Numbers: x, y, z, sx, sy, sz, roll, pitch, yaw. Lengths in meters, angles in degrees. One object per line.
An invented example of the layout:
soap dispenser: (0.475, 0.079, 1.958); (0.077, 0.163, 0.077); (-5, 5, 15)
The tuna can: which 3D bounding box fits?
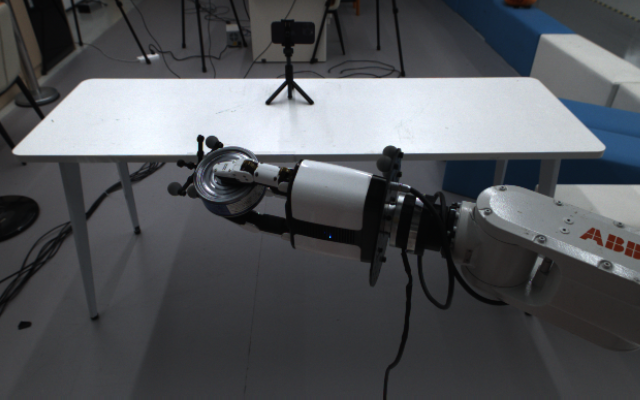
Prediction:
tuna can: (-0.106, -0.018, 0.595); (0.085, 0.034, 0.085); (-3, 59, 5)
